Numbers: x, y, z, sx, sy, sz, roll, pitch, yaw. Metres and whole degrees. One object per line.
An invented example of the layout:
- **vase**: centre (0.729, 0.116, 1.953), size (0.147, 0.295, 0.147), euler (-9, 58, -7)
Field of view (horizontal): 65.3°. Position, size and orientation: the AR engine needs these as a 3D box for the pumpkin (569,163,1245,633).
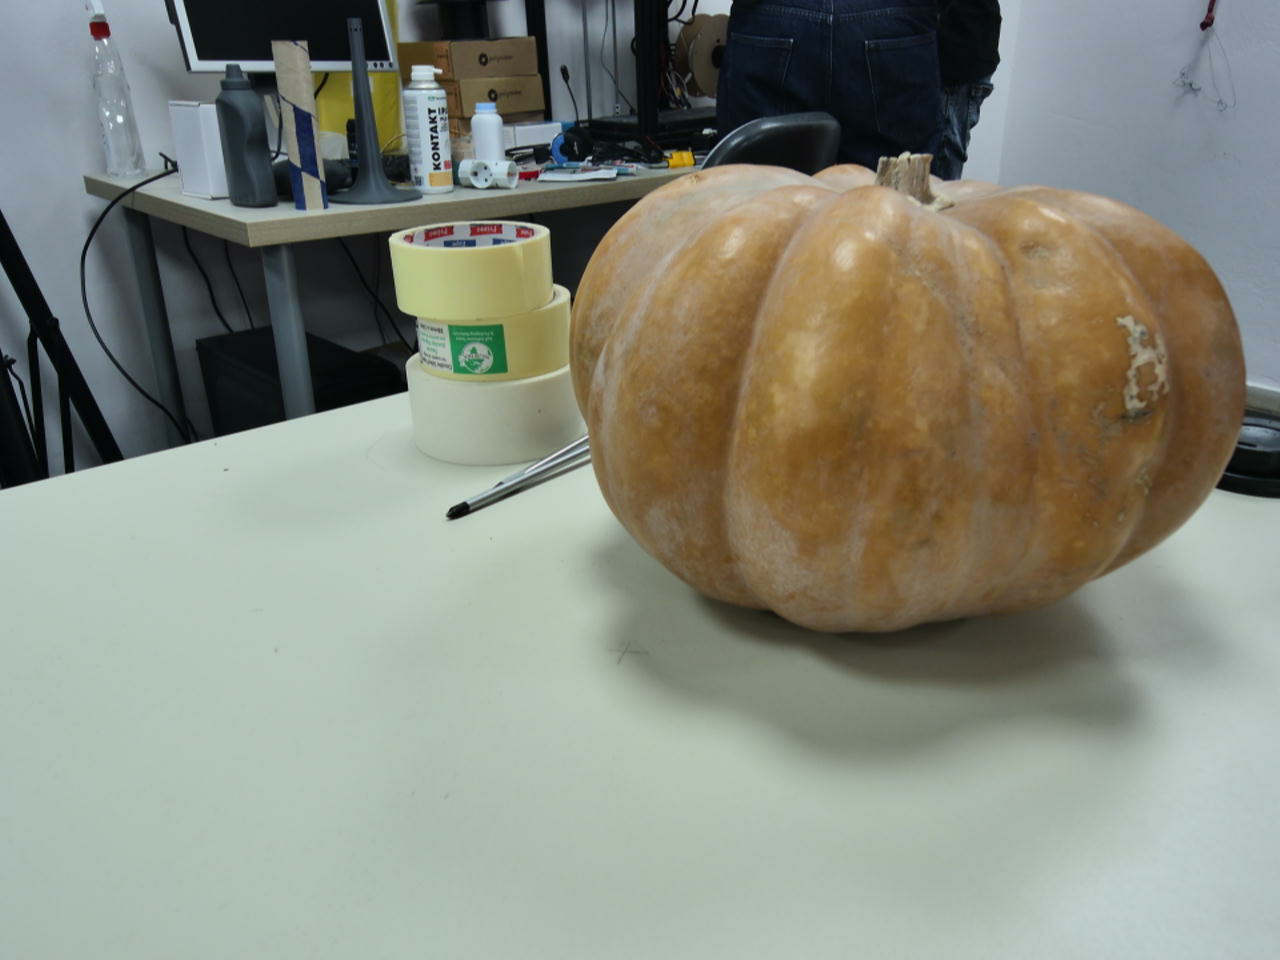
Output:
- **pumpkin**: centre (0.100, -0.045, 0.432), size (0.277, 0.181, 0.277), euler (0, 22, 0)
